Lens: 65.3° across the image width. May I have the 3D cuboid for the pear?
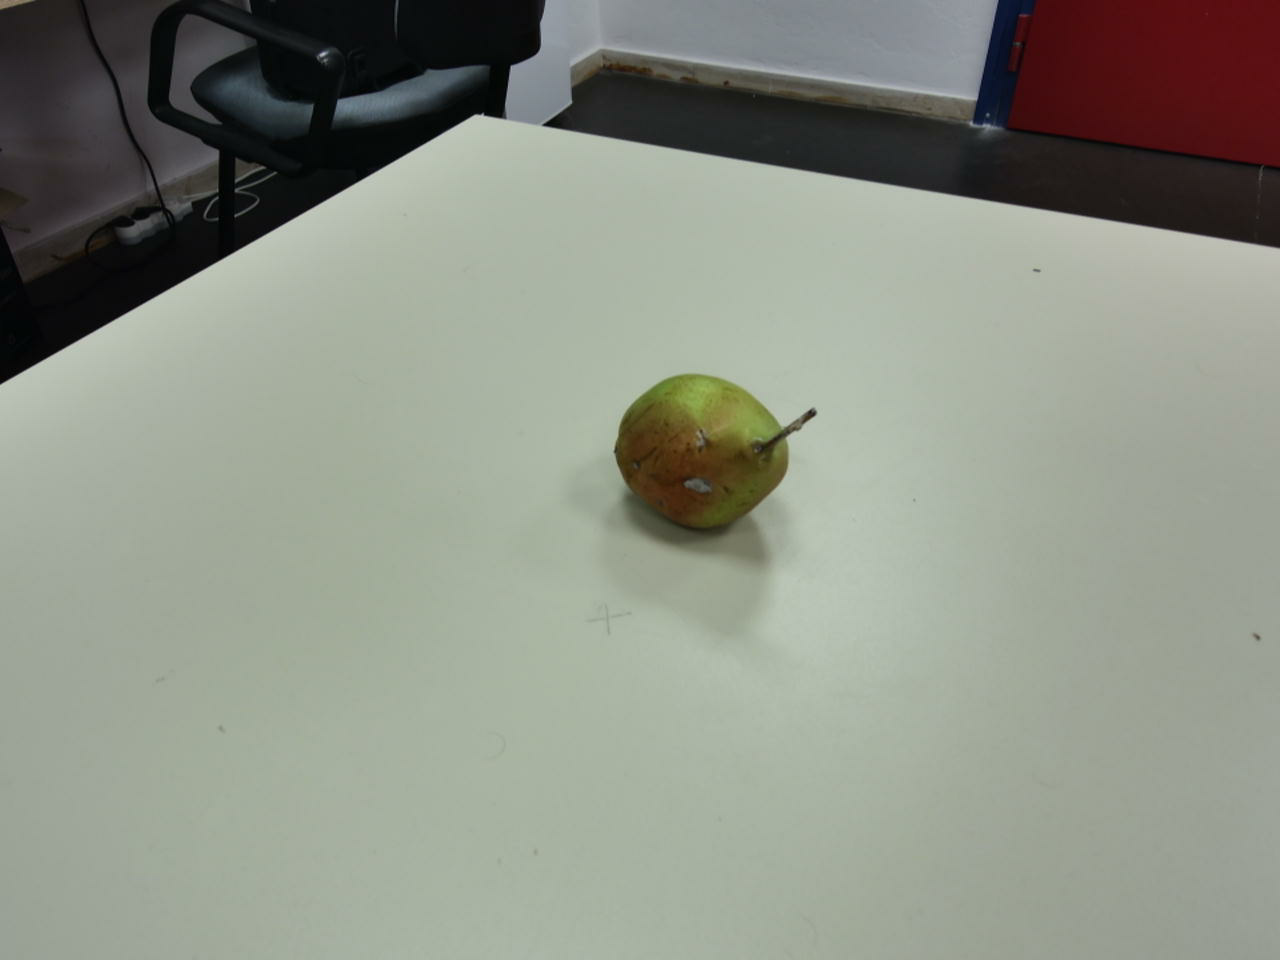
[{"bbox_3d":[0.025,-0.014,0.410,0.068,0.069,0.070,-7,38,-9],"label":"pear"}]
